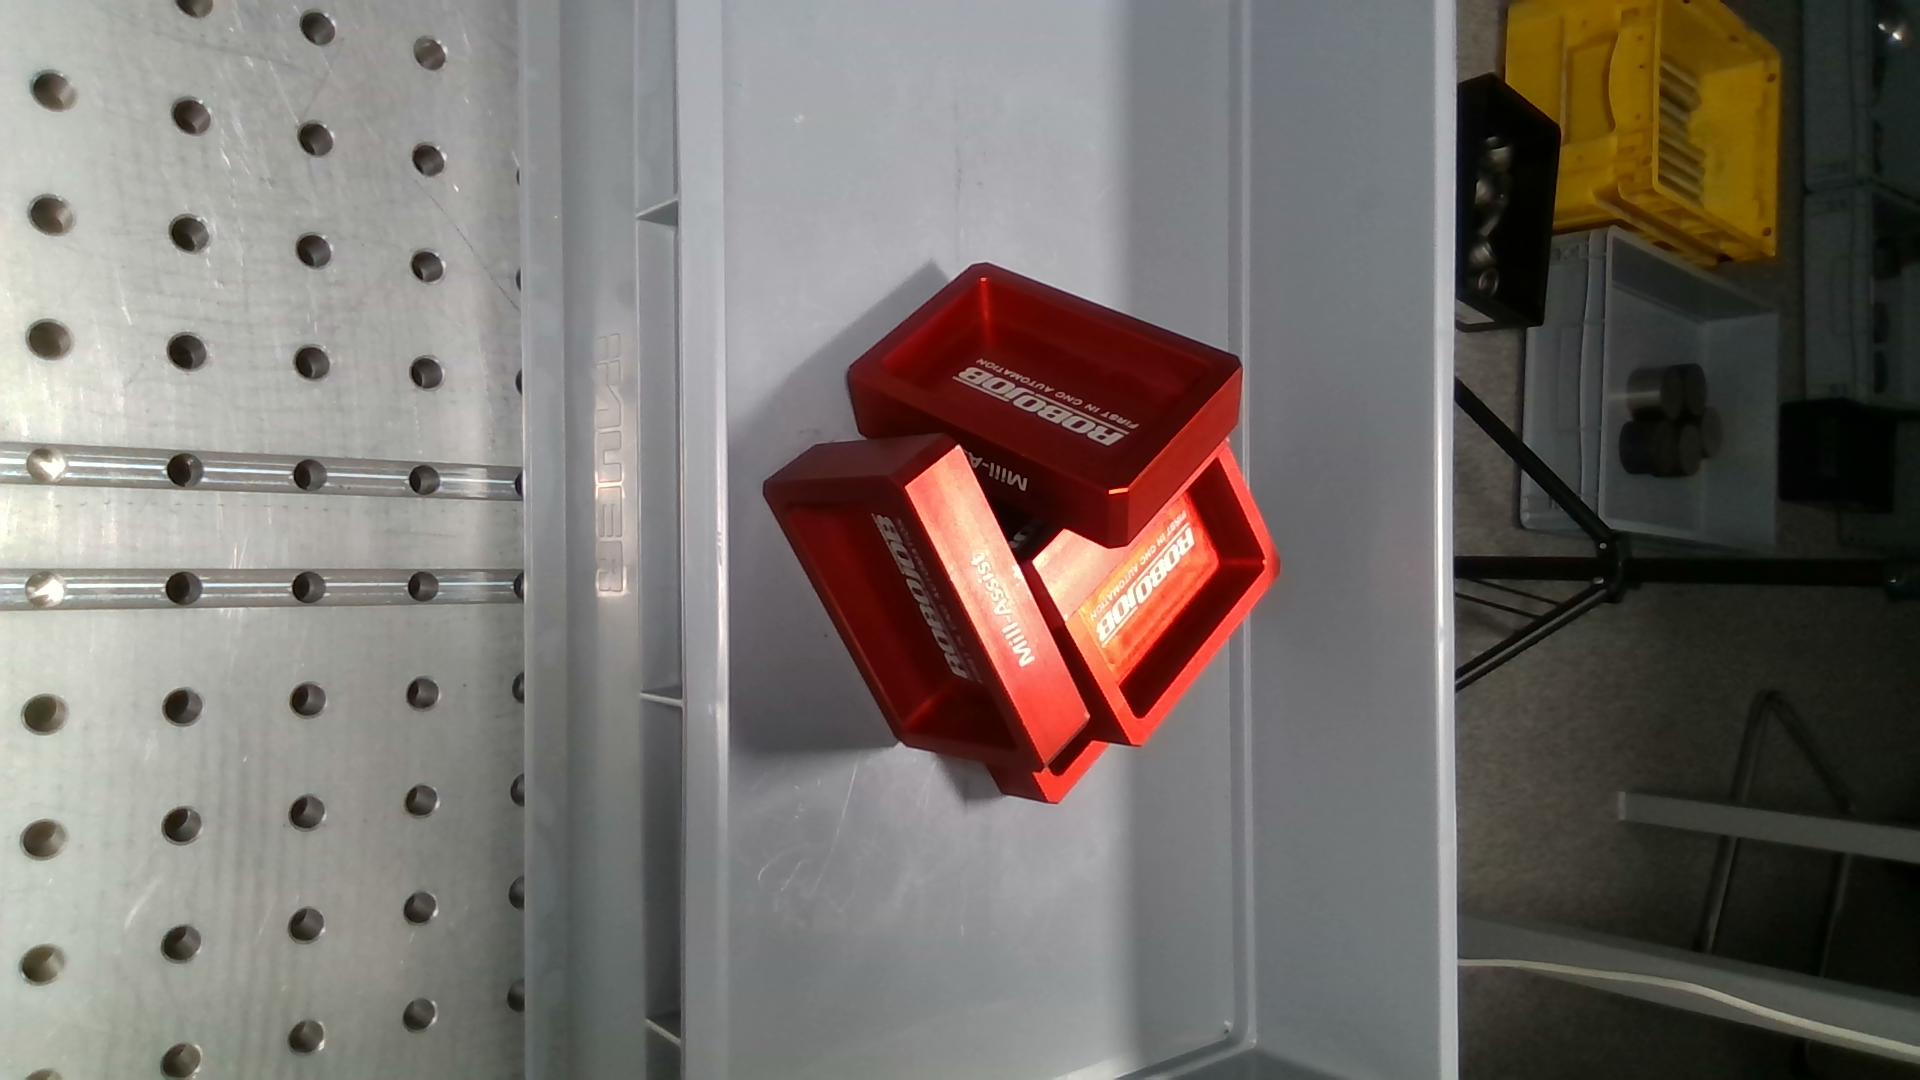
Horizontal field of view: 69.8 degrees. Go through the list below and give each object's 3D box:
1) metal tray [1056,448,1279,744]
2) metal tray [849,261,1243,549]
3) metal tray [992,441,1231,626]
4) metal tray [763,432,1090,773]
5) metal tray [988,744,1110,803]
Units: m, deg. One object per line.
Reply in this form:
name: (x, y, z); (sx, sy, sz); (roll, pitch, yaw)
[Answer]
metal tray: (0.083, 0.015, 0.609); (0.130, 0.030, 0.090); (-44, 116, -32)
metal tray: (0.033, -0.058, 0.543); (0.090, 0.130, 0.030); (-45, 147, -31)
metal tray: (0.041, -0.017, 0.572); (0.130, 0.090, 0.030); (-44, 117, -31)
metal tray: (-0.014, 0.025, 0.527); (0.030, 0.090, 0.130); (-40, 115, -33)
metal tray: (0.051, 0.044, 0.623); (0.130, 0.030, 0.090); (-42, 114, -33)
